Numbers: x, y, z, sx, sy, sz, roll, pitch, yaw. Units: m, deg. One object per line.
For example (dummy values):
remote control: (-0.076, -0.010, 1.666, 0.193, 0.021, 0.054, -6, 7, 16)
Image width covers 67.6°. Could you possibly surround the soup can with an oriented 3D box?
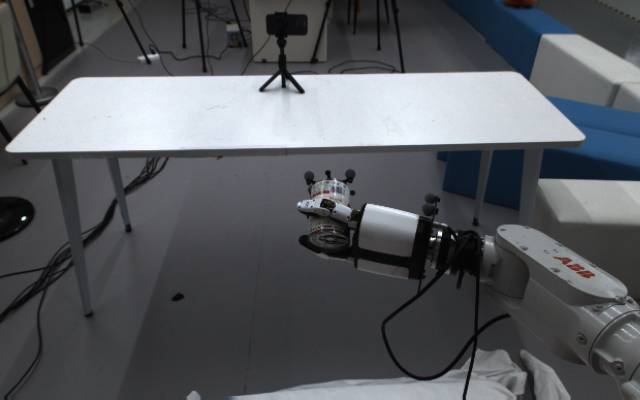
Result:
soup can: (0.016, 0.024, 0.778, 0.067, 0.067, 0.101, 3, 57, 1)
